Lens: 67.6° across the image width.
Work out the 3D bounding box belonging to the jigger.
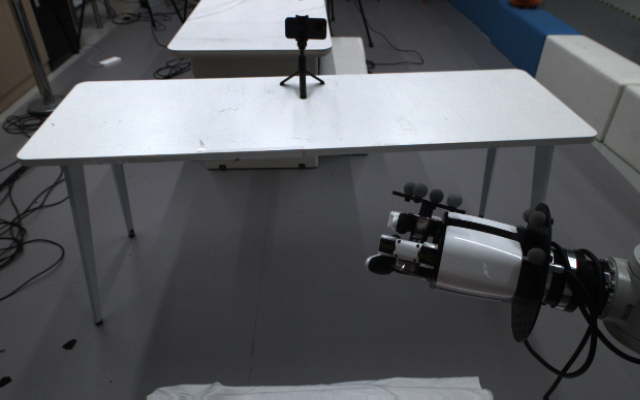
[{"bbox_3d":[0.117,0.052,0.578,0.043,0.071,0.043,17,2,-1],"label":"jigger"}]
